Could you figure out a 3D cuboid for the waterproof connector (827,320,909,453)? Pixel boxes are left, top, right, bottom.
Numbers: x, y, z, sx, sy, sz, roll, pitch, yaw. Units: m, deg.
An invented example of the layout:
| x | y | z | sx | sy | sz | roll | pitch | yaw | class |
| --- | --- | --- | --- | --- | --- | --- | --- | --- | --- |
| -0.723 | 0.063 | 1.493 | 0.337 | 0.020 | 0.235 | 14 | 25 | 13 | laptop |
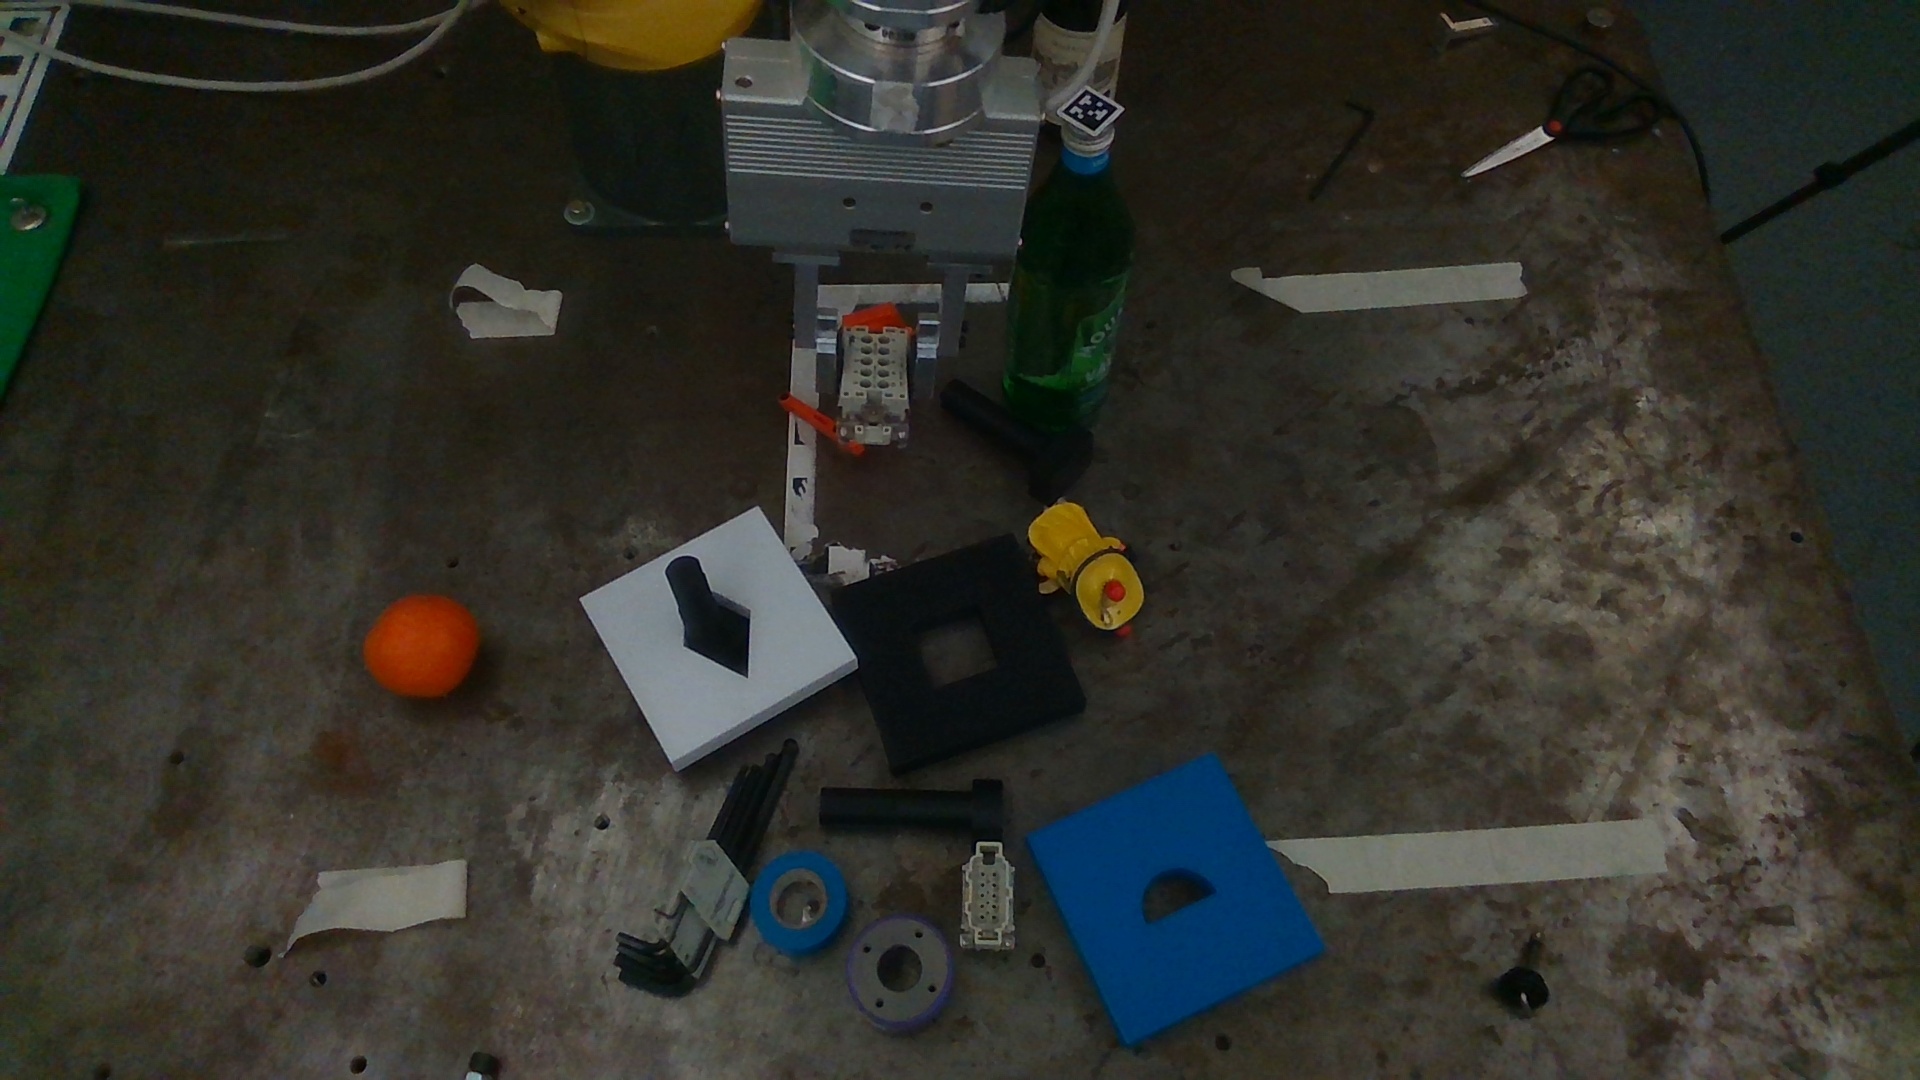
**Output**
| x | y | z | sx | sy | sz | roll | pitch | yaw | class |
| --- | --- | --- | --- | --- | --- | --- | --- | --- | --- |
| -0.044 | -0.073 | 0.659 | 0.037 | 0.038 | 0.069 | 1 | 59 | -1 | waterproof connector |
